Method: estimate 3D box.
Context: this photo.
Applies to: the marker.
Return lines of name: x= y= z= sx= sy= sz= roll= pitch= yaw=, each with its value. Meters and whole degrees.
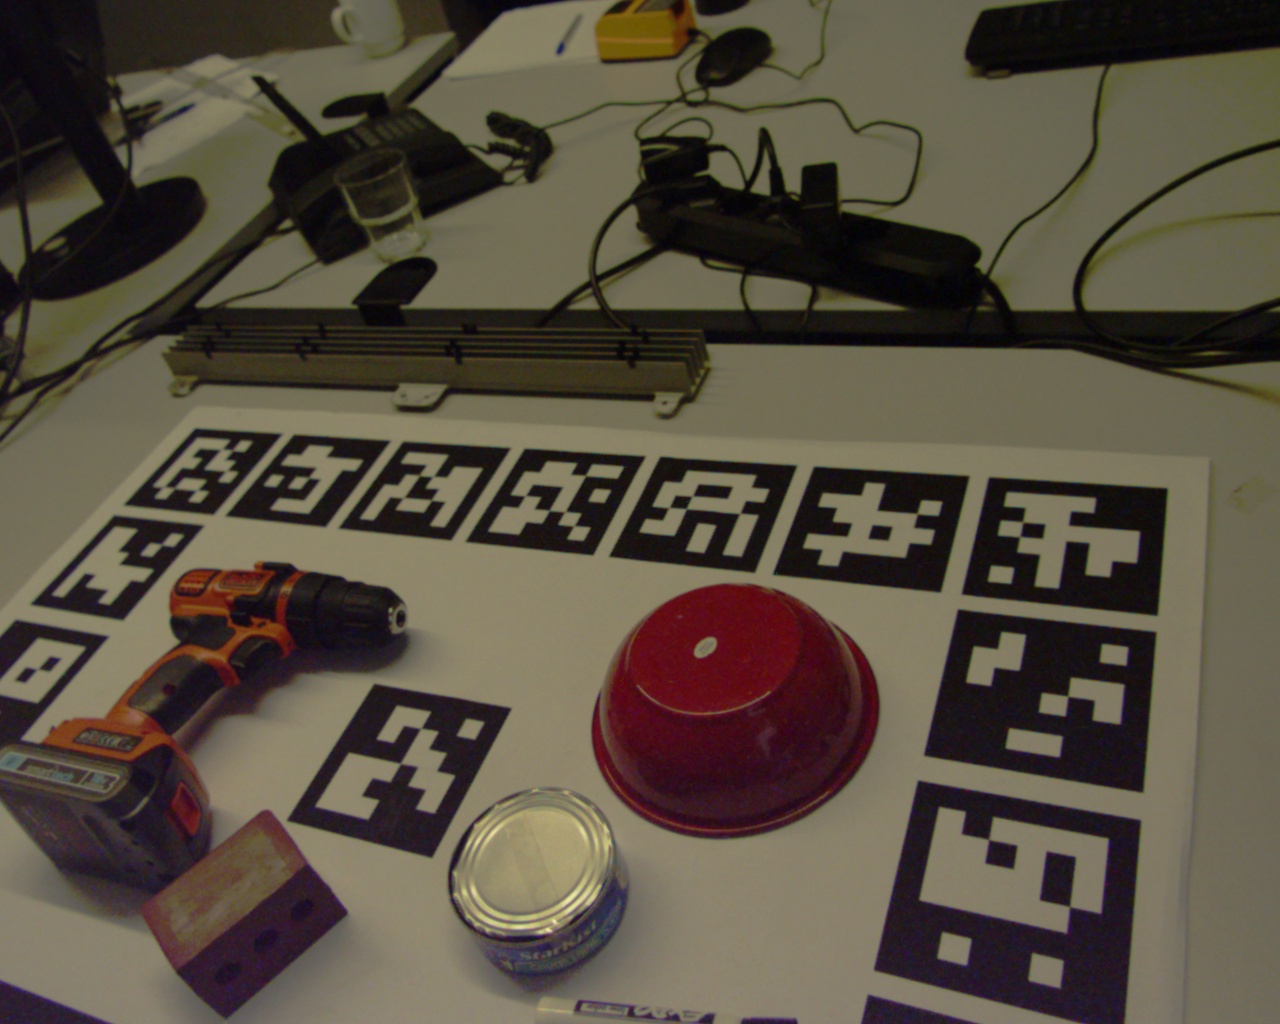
marker: x=0.014 y=0.223 z=0.530 sx=0.122 sy=0.019 sz=0.019 roll=-3 pitch=44 yaw=17

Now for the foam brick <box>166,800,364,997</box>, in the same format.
foam brick: x=-0.202 y=0.208 z=0.616 sx=0.052 sy=0.052 sz=0.077 roll=27 pitch=59 yaw=38

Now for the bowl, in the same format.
bowl: x=0.039 y=0.091 z=0.658 sx=0.162 sy=0.055 sz=0.162 roll=-12 pitch=34 yaw=7

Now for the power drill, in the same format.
power drill: x=-0.272 y=0.119 z=0.733 sx=0.186 sy=0.057 sz=0.186 roll=6 pitch=44 yaw=21

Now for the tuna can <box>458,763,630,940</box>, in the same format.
tuna can: x=-0.049 y=0.177 z=0.596 sx=0.086 sy=0.033 sz=0.086 roll=-9 pitch=42 yaw=8
